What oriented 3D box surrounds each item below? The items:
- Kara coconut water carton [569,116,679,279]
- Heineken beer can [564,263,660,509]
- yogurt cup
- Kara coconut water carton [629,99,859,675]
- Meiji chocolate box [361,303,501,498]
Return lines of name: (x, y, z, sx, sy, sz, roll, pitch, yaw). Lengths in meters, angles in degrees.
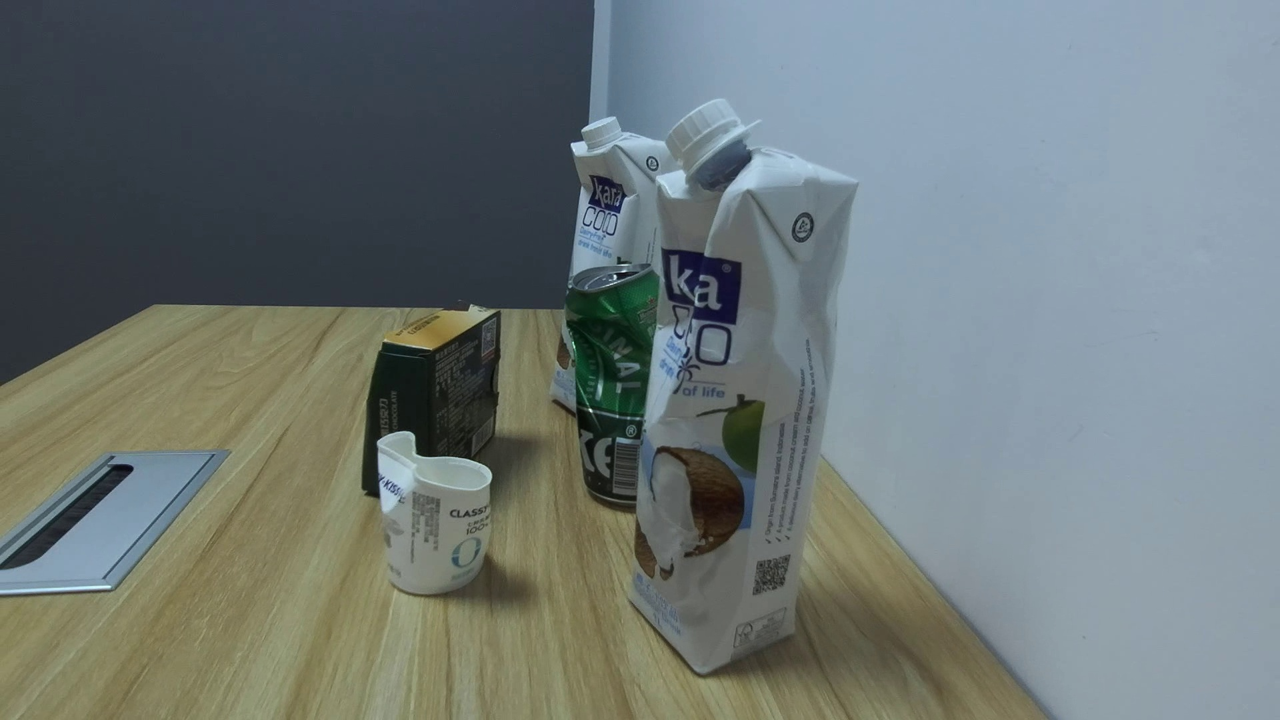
Kara coconut water carton: (-0.020, -0.065, 0.568, 0.071, 0.244, 0.099, -6, 15, -36)
Heineken beer can: (-0.004, 0.017, 0.480, 0.079, 0.159, 0.067, -6, 15, -3)
yogurt cup: (-0.113, 0.084, 0.390, 0.075, 0.071, 0.054, 8, 20, 10)
Kara coconut water carton: (0.042, 0.018, 0.332, 0.079, 0.255, 0.083, -4, 19, -21)
Meiji chocolate box: (-0.146, 0.023, 0.500, 0.058, 0.110, 0.113, 10, 20, 8)
